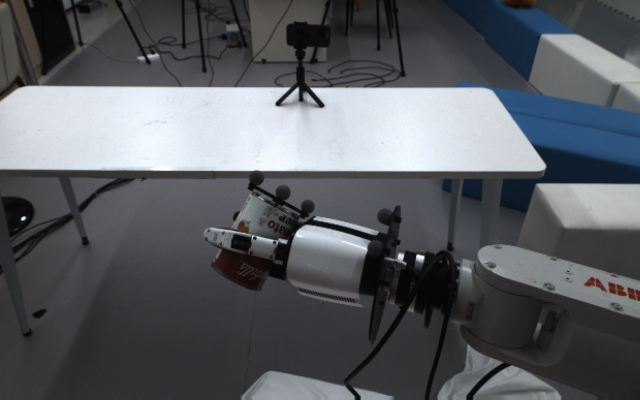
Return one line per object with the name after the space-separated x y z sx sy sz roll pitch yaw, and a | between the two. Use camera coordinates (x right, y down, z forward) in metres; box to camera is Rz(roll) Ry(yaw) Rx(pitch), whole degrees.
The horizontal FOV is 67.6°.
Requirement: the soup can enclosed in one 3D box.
-0.075 0.050 0.579 0.067 0.101 0.067 28 -3 2 | soup can
